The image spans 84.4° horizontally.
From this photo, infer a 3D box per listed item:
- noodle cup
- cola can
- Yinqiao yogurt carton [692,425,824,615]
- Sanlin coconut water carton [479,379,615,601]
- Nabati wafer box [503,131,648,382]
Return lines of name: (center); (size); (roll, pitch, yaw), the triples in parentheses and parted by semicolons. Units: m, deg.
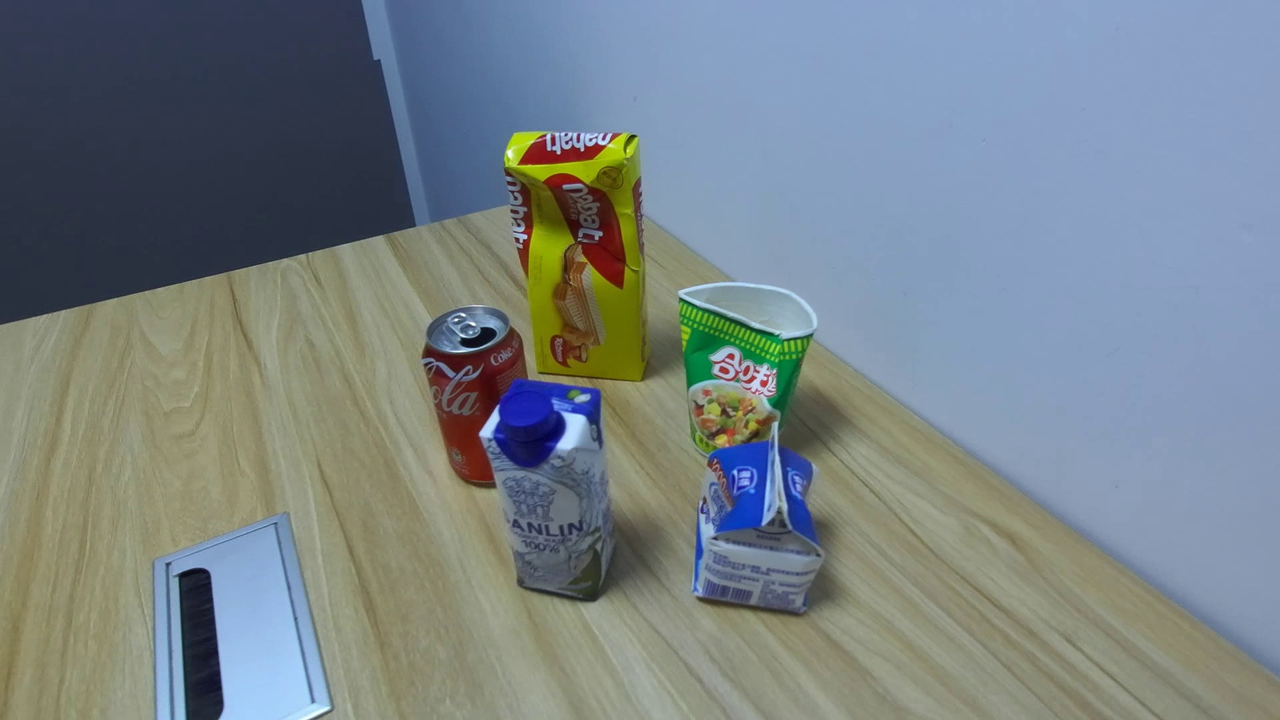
noodle cup: (0.074, 0.012, 0.505); (0.075, 0.122, 0.082); (-9, 28, -23)
cola can: (-0.109, 0.025, 0.492); (0.068, 0.120, 0.067); (-1, 37, 1)
Yinqiao yogurt carton: (0.071, 0.090, 0.415); (0.071, 0.094, 0.077); (7, 39, 4)
Sanlin coconut water carton: (-0.050, 0.071, 0.406); (0.060, 0.144, 0.061); (6, 36, 13)
Nabati wafer box: (-0.048, -0.076, 0.553); (0.107, 0.204, 0.042); (5, 38, 10)
